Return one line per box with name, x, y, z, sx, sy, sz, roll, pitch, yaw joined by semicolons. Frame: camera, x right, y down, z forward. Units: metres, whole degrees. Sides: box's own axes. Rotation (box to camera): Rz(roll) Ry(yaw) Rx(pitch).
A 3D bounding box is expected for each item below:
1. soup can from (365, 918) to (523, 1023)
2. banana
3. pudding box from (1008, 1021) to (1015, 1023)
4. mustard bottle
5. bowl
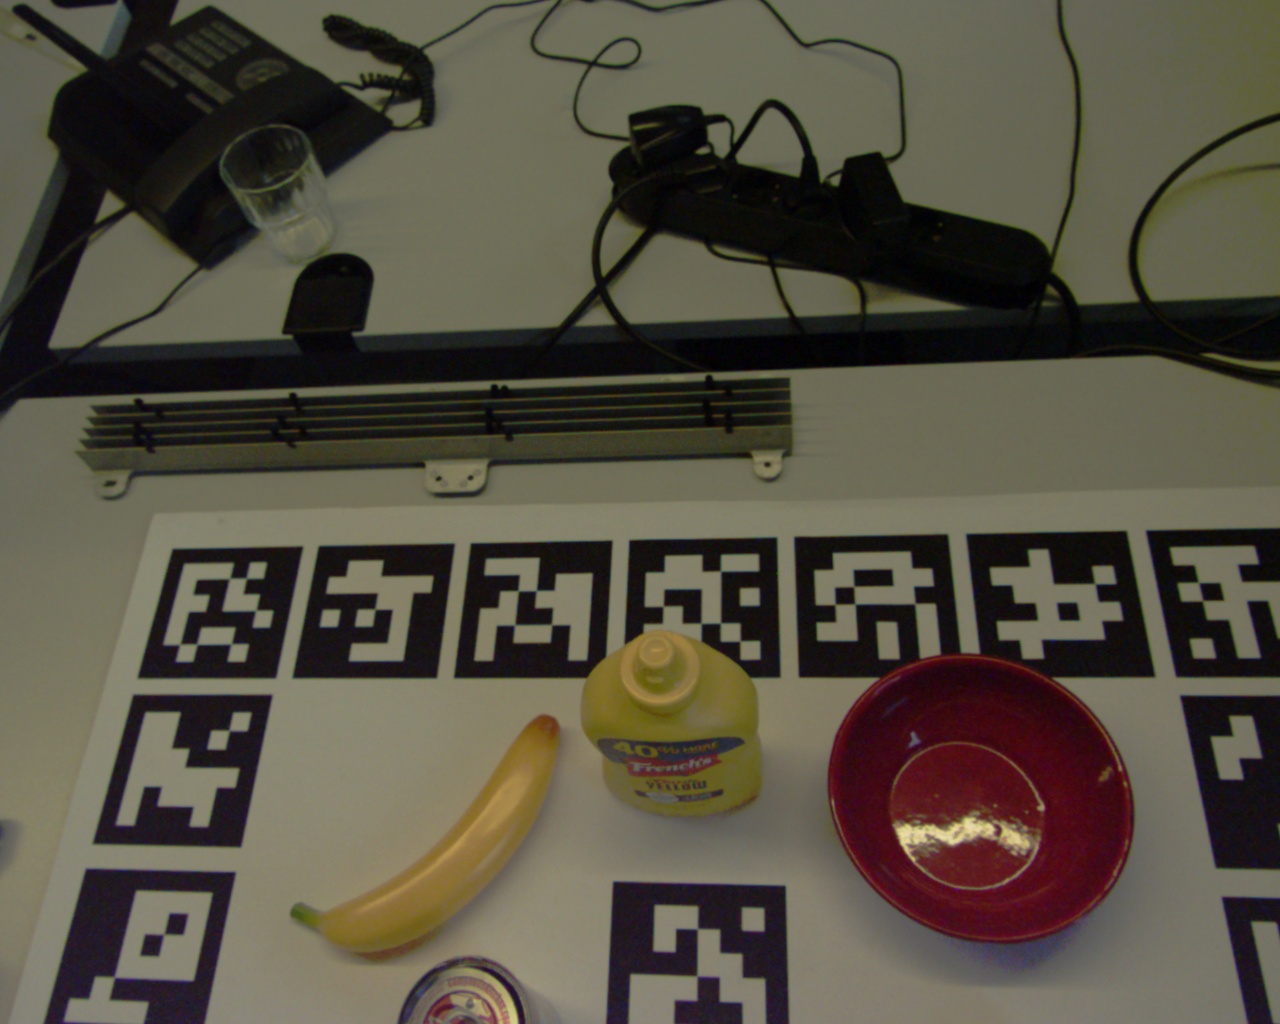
soup can;-0.104;0.269;0.627;0.068;0.101;0.068;-3;58;4
banana;-0.135;0.193;0.724;0.196;0.038;0.075;-42;53;-16
pudding box;0.164;0.332;0.594;0.113;0.038;0.090;-21;64;-4
mustard bottle;0.004;0.112;0.648;0.096;0.190;0.058;0;57;7
bowl;0.181;0.166;0.684;0.162;0.055;0.162;-5;58;7
